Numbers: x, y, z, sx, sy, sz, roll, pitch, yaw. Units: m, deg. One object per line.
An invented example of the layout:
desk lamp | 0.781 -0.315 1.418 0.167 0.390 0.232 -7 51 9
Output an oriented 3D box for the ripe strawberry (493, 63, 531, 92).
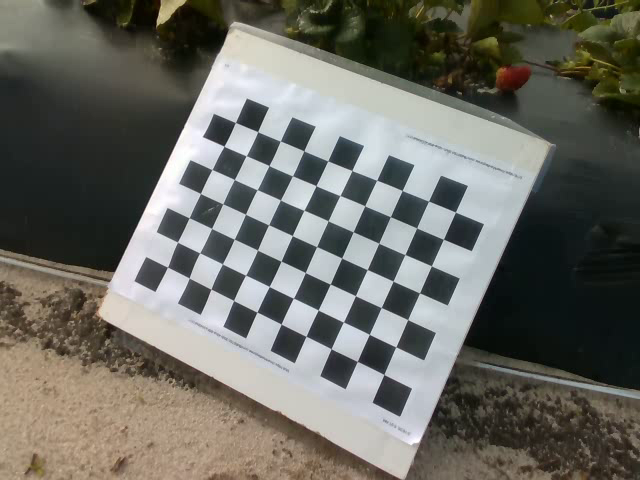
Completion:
ripe strawberry | 0.124 -0.109 0.401 0.027 0.021 0.021 -4 0 22
